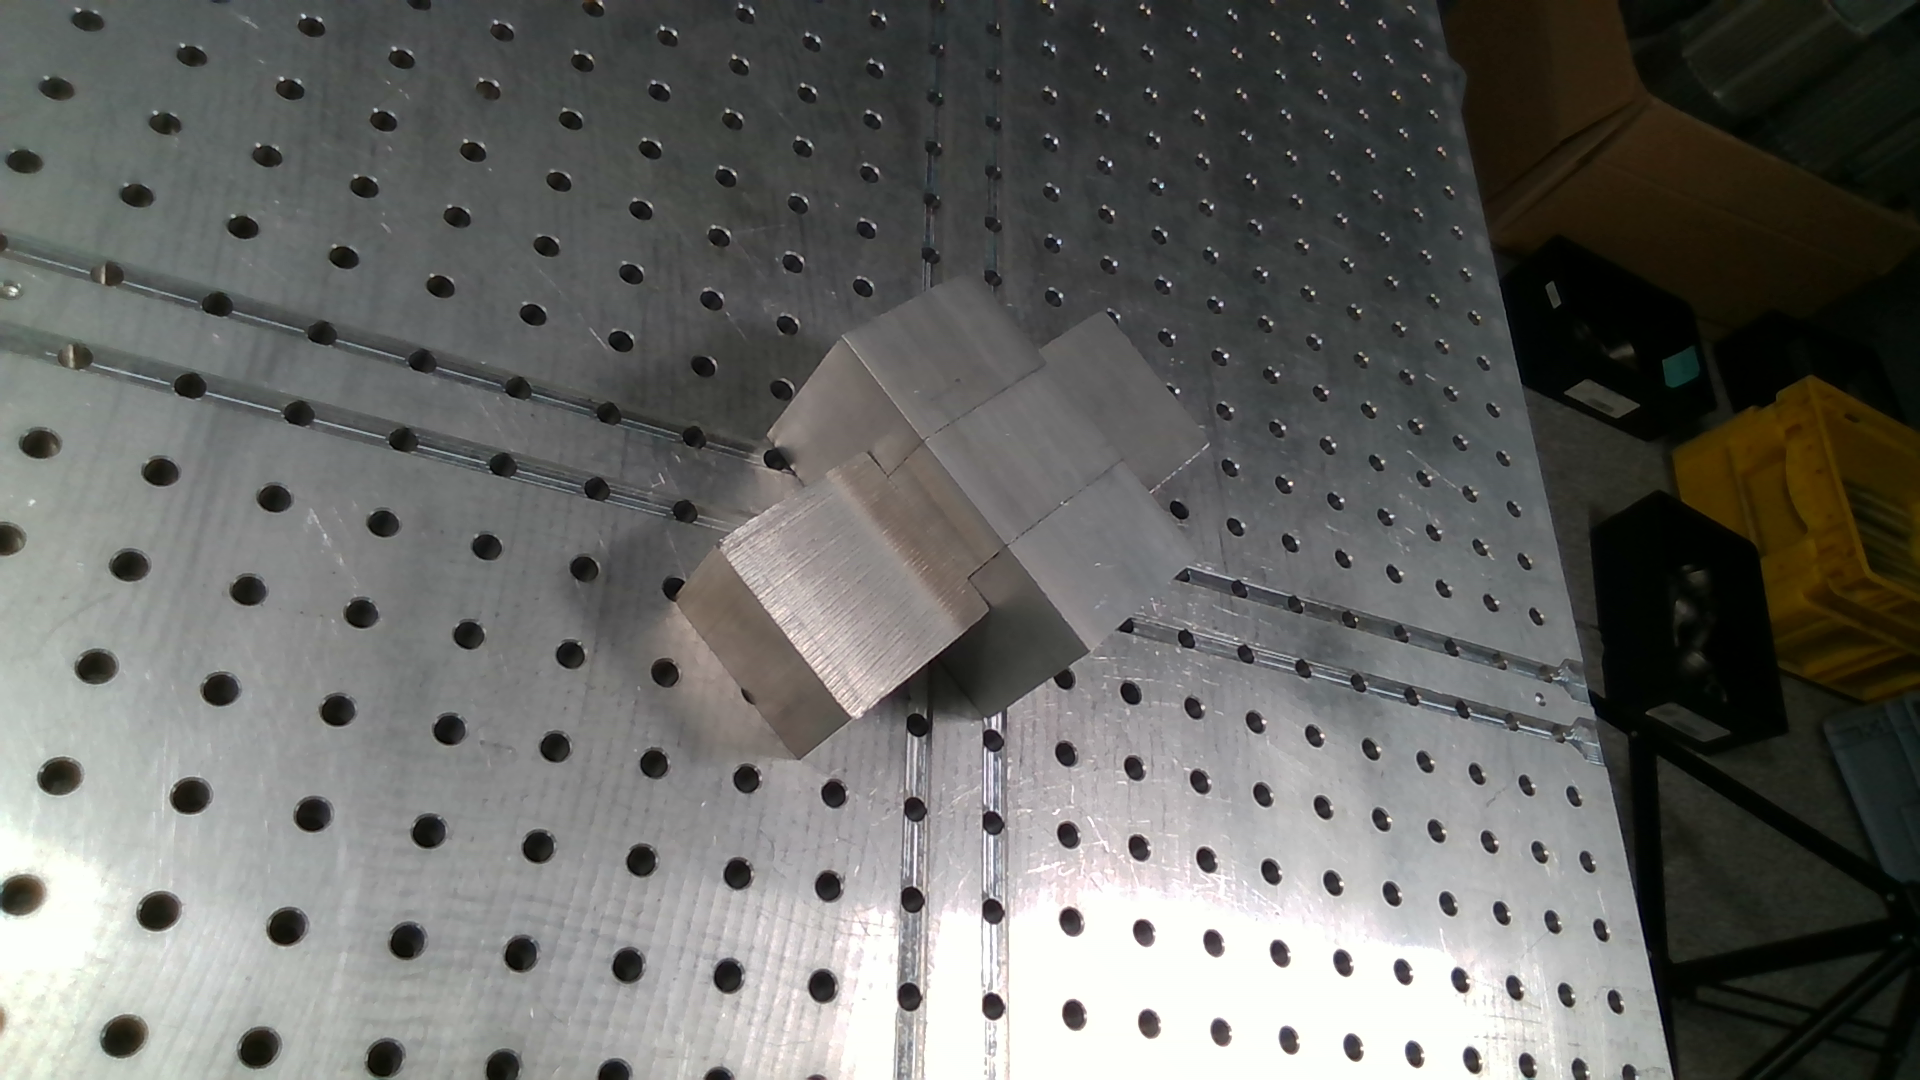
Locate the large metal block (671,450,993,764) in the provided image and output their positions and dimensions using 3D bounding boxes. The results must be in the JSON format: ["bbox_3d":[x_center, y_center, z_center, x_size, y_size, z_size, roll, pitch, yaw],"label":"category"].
[{"bbox_3d":[-0.049,0.025,0.530,0.080,0.050,0.080,-36,85,-39],"label":"large metal block"}]

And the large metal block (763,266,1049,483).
[{"bbox_3d":[-0.023,-0.058,0.571,0.080,0.080,0.050,-36,87,-39],"label":"large metal block"}]

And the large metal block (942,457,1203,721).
[{"bbox_3d":[0.039,0.021,0.567,0.080,0.080,0.050,-36,87,-39],"label":"large metal block"}]

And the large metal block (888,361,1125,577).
[{"bbox_3d":[0.008,-0.019,0.569,0.080,0.080,0.050,-36,87,-39],"label":"large metal block"}]

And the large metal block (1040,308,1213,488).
[{"bbox_3d":[0.054,-0.047,0.628,0.080,0.050,0.080,51,51,3],"label":"large metal block"}]
